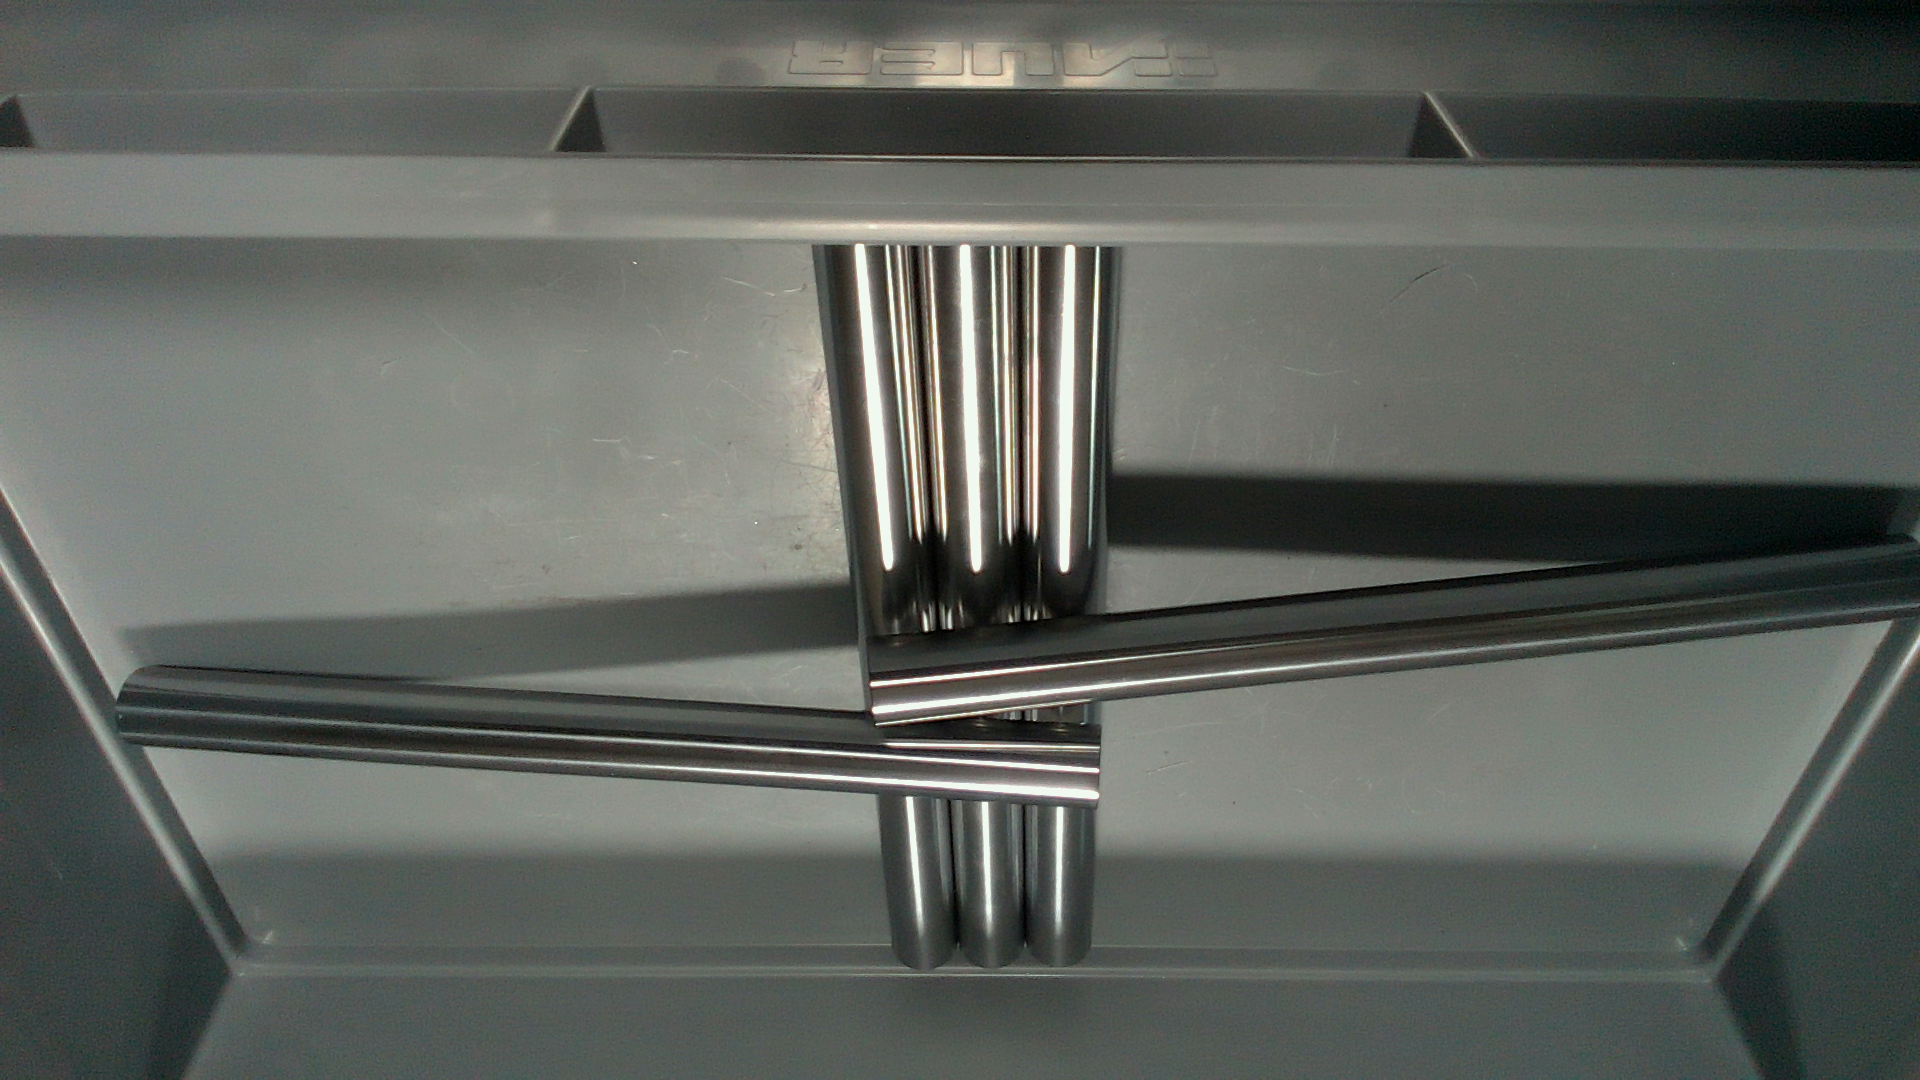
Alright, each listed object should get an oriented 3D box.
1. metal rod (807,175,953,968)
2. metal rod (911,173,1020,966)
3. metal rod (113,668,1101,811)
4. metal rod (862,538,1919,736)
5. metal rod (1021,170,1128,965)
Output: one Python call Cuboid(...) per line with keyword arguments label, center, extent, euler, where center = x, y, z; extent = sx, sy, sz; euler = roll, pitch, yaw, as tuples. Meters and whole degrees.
Cuboid(label="metal rod", center=(-0.019, 0.035, 0.419), extent=(0.025, 0.025, 0.300), euler=(-1, 130, 1))
Cuboid(label="metal rod", center=(0.006, 0.034, 0.418), extent=(0.025, 0.025, 0.300), euler=(-1, 130, 1))
Cuboid(label="metal rod", center=(-0.108, 0.060, 0.418), extent=(0.300, 0.025, 0.025), euler=(3, 130, 5))
Cuboid(label="metal rod", center=(0.123, 0.027, 0.390), extent=(0.300, 0.025, 0.025), euler=(-6, 130, -4))
Cuboid(label="metal rod", center=(0.031, 0.034, 0.418), extent=(0.025, 0.025, 0.300), euler=(-1, 130, 1))
